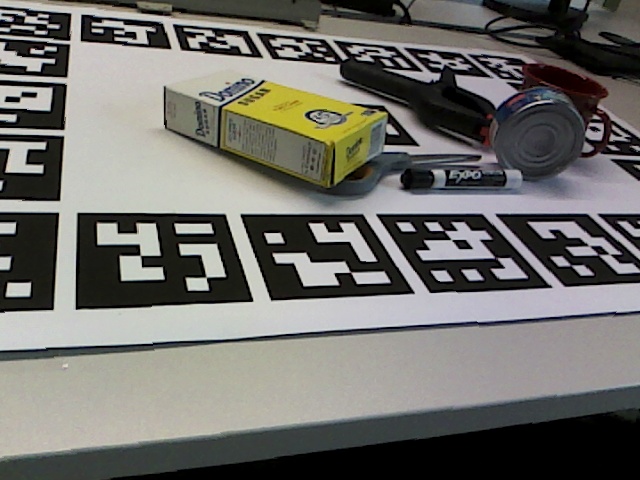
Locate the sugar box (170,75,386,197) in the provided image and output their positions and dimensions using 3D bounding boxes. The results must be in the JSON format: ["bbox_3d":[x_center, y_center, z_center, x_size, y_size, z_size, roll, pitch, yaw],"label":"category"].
[{"bbox_3d":[-0.040,-0.100,0.553,0.177,0.045,0.092,25,35,27],"label":"sugar box"}]

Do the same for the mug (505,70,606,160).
[{"bbox_3d":[0.249,-0.127,0.671,0.093,0.081,0.118,-22,44,-41],"label":"mug"}]

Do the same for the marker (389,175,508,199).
[{"bbox_3d":[0.118,-0.049,0.566,0.120,0.019,0.020,-4,39,-22],"label":"marker"}]

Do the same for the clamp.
[{"bbox_3d":[0.132,-0.155,0.726,0.164,0.036,0.204,-8,40,-28],"label":"clamp"}]

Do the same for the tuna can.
[{"bbox_3d":[0.210,-0.098,0.608,0.085,0.085,0.034,9,34,-6],"label":"tuna can"}]

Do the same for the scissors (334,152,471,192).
[{"bbox_3d":[0.064,-0.075,0.581,0.201,0.016,0.088,-7,35,-30],"label":"scissors"}]
